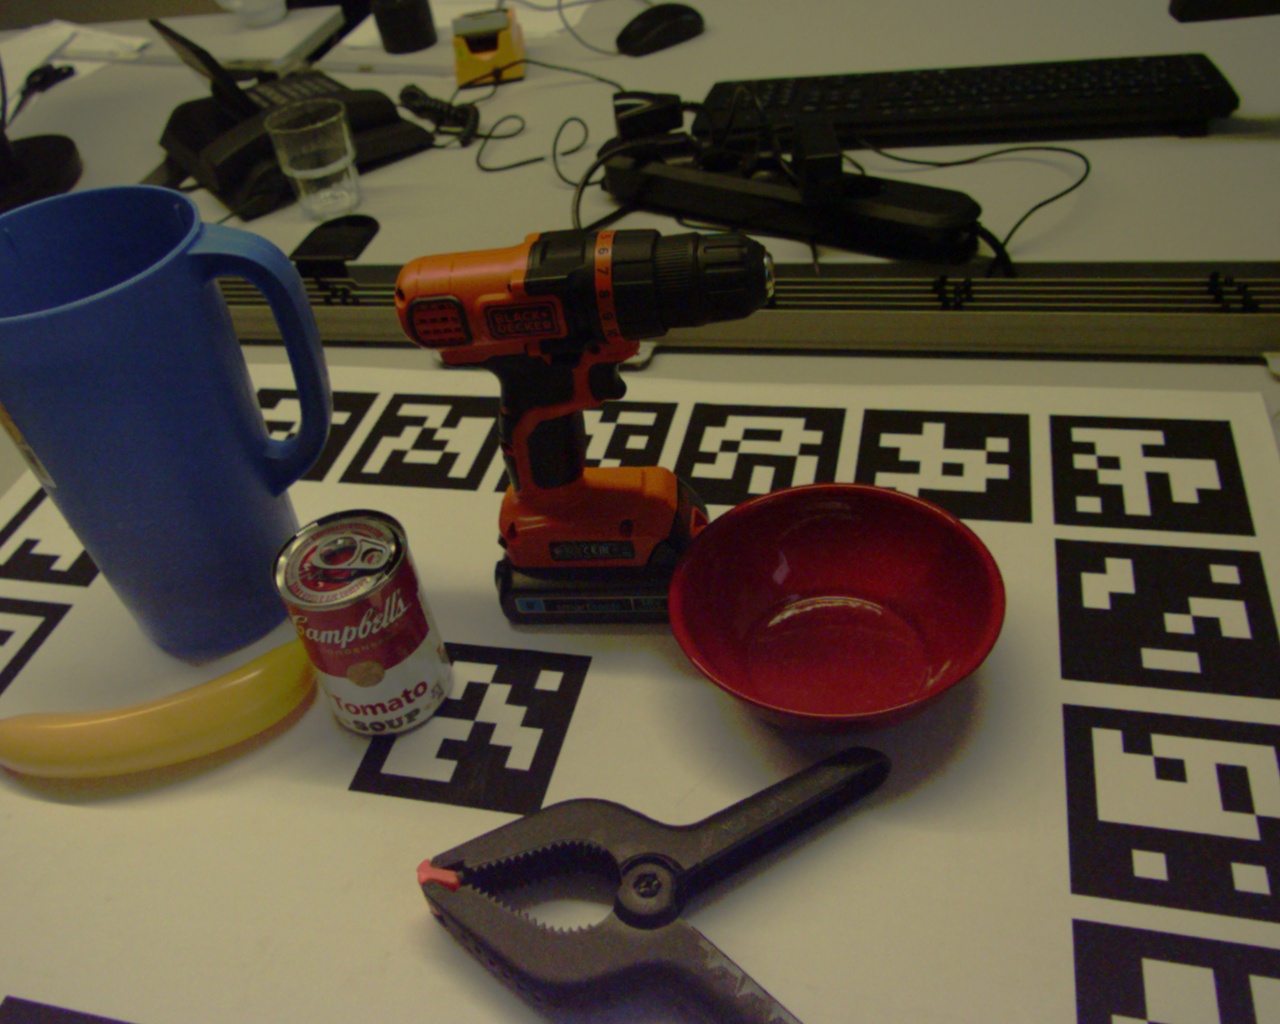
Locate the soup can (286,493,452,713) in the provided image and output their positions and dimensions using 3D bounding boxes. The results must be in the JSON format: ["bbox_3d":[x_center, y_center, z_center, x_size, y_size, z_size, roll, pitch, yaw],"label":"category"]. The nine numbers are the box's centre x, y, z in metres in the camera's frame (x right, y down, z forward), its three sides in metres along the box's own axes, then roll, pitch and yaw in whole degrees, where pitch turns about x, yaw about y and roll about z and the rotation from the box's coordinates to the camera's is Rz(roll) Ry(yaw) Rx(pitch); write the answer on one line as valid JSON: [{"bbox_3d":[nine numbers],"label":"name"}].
[{"bbox_3d":[-0.144,0.050,0.619,0.068,0.101,0.068,-6,34,3],"label":"soup can"}]

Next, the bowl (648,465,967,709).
[{"bbox_3d":[0.087,0.048,0.603,0.162,0.055,0.162,-7,44,6],"label":"bowl"}]

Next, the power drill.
[{"bbox_3d":[-0.019,-0.057,0.615,0.185,0.186,0.057,0,44,10],"label":"power drill"}]

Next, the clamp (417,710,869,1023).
[{"bbox_3d":[-0.001,0.157,0.510,0.204,0.036,0.165,1,48,13],"label":"clamp"}]

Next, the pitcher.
[{"bbox_3d":[-0.259,-0.050,0.645,0.188,0.241,0.134,-14,39,-4],"label":"pitcher"}]

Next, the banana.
[{"bbox_3d":[-0.271,0.103,0.637,0.197,0.038,0.075,-14,34,-5],"label":"banana"}]
